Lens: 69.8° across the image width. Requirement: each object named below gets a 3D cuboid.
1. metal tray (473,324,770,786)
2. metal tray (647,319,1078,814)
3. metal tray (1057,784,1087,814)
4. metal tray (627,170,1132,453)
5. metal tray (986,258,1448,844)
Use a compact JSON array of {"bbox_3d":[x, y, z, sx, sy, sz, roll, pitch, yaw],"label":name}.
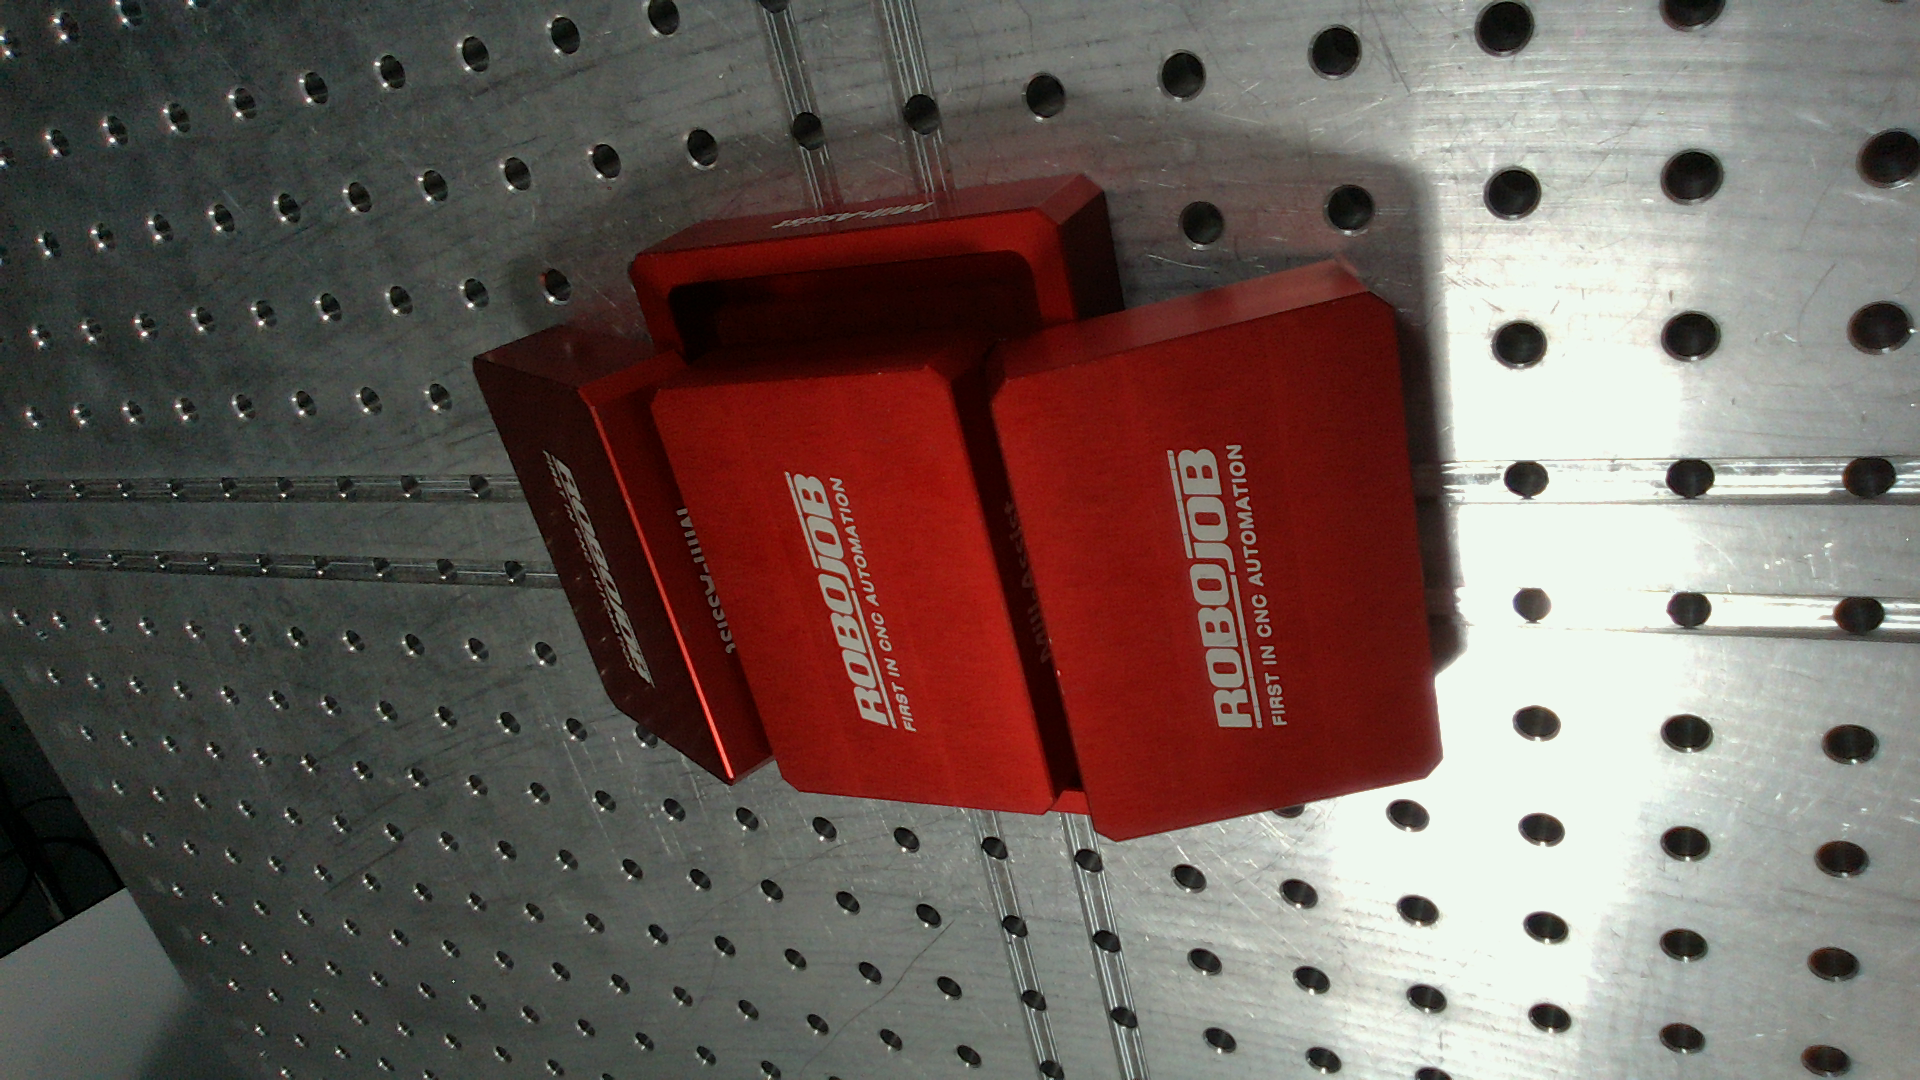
[{"bbox_3d":[-0.099,0.003,0.424,0.090,0.030,0.130,19,131,50],"label":"metal tray"},{"bbox_3d":[-0.022,0.010,0.371,0.090,0.030,0.130,-1,118,29],"label":"metal tray"},{"bbox_3d":[0.003,0.035,0.413,0.130,0.030,0.090,0,119,28],"label":"metal tray"},{"bbox_3d":[-0.019,-0.045,0.375,0.130,0.030,0.090,0,119,28],"label":"metal tray"},{"bbox_3d":[0.065,0.006,0.337,0.090,0.030,0.130,-13,115,4],"label":"metal tray"}]
